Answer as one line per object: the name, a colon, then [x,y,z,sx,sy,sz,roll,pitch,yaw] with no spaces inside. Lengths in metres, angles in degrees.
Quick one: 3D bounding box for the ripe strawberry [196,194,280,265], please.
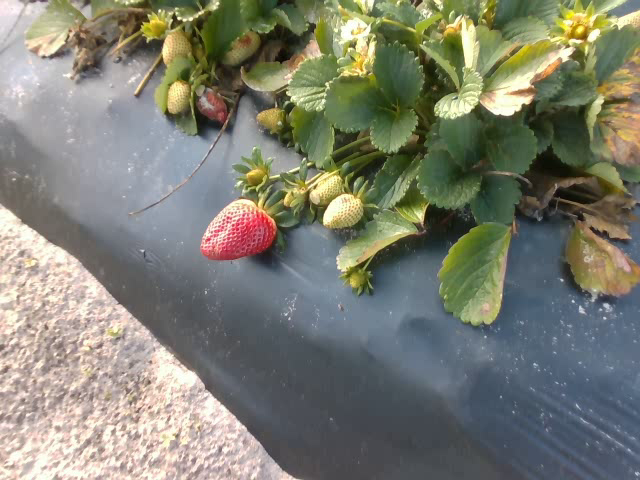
ripe strawberry: [-0.073,-0.007,0.531,0.052,0.067,0.045,36,-31,19]
